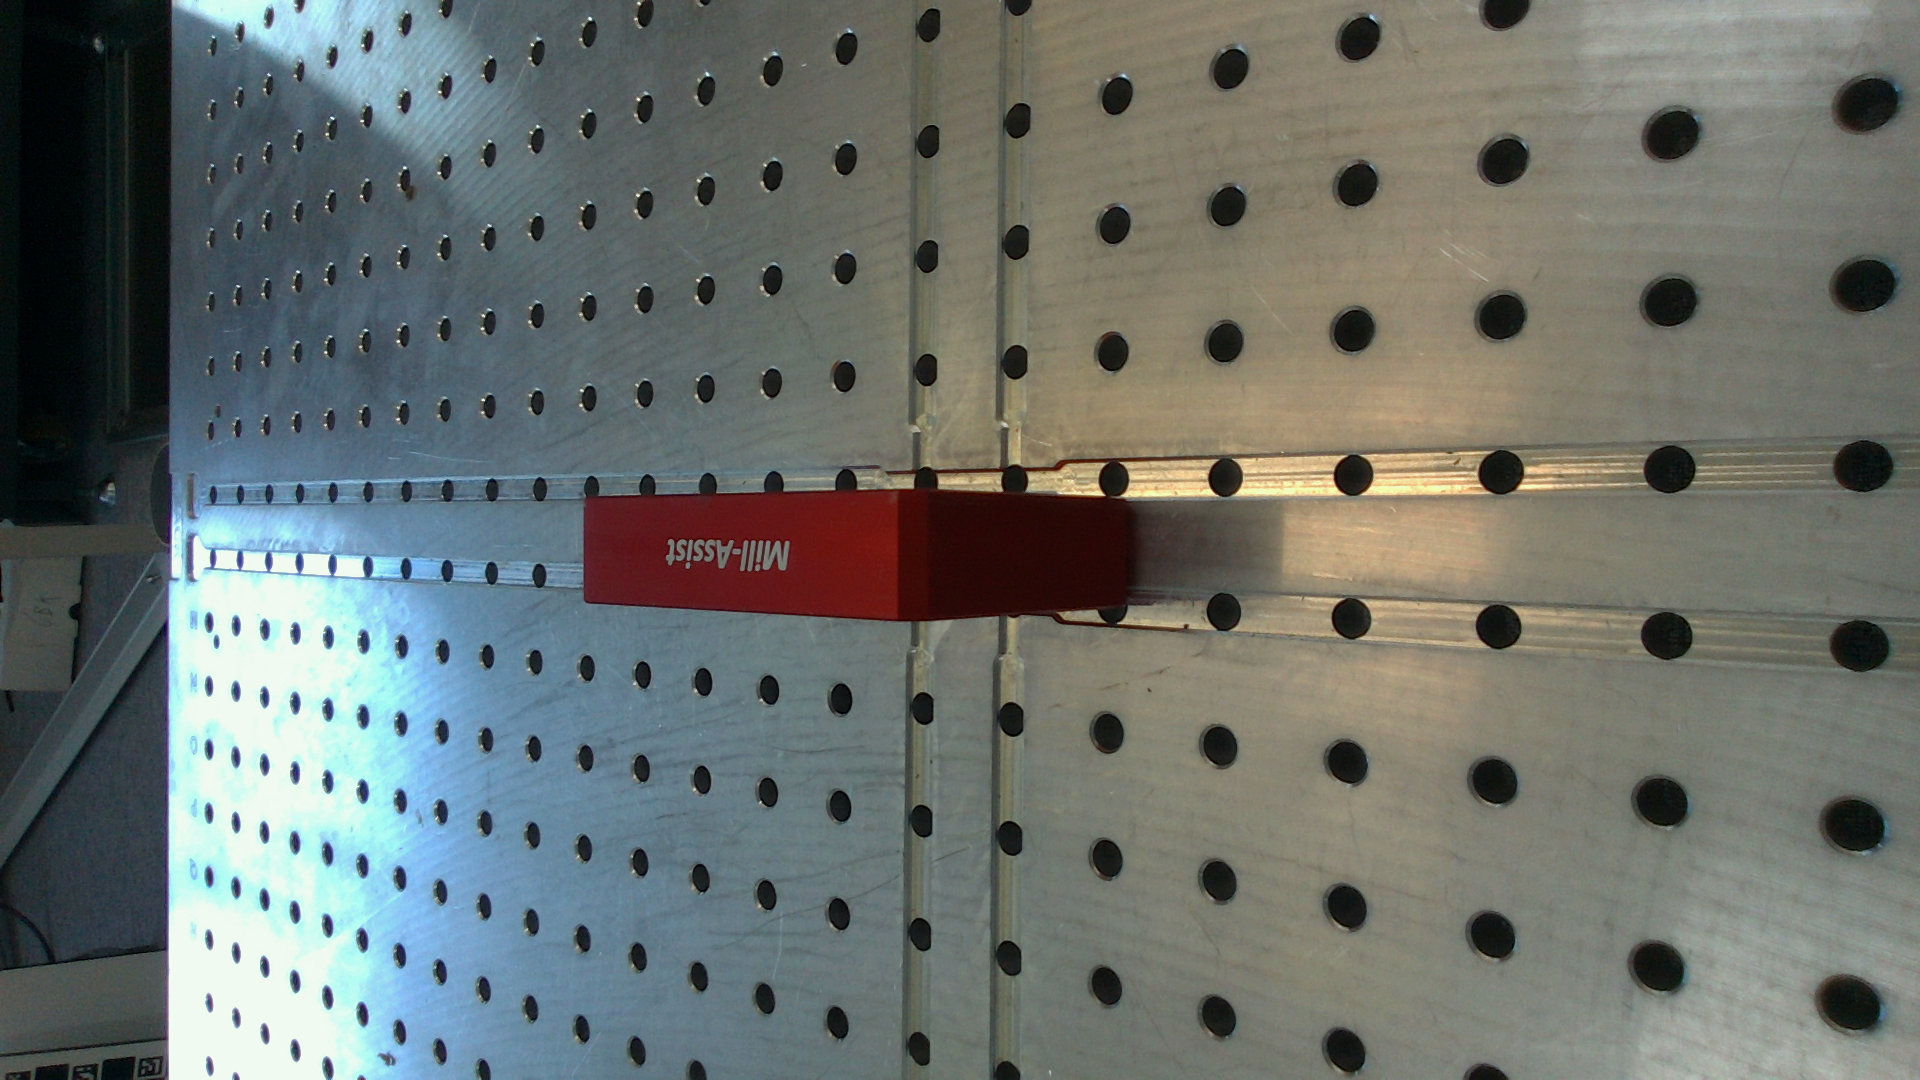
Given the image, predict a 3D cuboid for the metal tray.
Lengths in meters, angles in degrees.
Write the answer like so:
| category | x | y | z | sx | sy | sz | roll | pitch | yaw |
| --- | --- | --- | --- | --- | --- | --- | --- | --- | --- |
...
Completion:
| category | x | y | z | sx | sy | sz | roll | pitch | yaw |
| --- | --- | --- | --- | --- | --- | --- | --- | --- | --- |
| metal tray | -0.031 | 0.003 | 0.381 | 0.129 | 0.090 | 0.030 | 0 | 90 | 40 |
